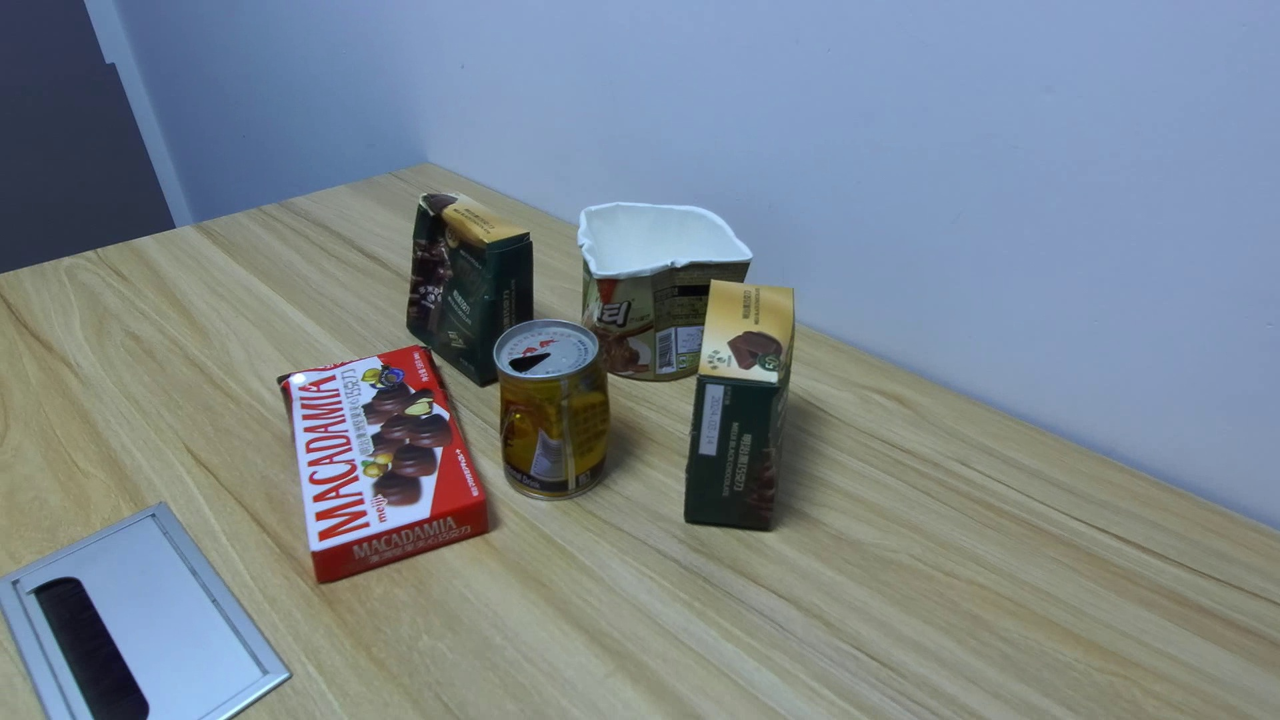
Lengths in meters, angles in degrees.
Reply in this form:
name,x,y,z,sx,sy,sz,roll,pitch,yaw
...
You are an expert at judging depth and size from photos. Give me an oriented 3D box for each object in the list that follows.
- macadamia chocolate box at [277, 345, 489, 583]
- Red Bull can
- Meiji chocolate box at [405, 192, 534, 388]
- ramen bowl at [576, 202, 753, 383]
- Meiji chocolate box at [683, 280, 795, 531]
name,x,y,z,sx,sy,sz,roll,pitch,yaw
macadamia chocolate box,-0.165,0.052,0.450,0.106,0.028,0.182,-14,37,-22
Red Bull can,-0.054,0.030,0.427,0.072,0.092,0.072,1,35,0
Meiji chocolate box,-0.127,-0.057,0.534,0.117,0.117,0.052,31,36,35
ramen bowl,0.005,-0.061,0.552,0.114,0.098,0.133,-15,40,-18
Meiji chocolate box,0.062,0.025,0.421,0.058,0.111,0.113,7,34,6
